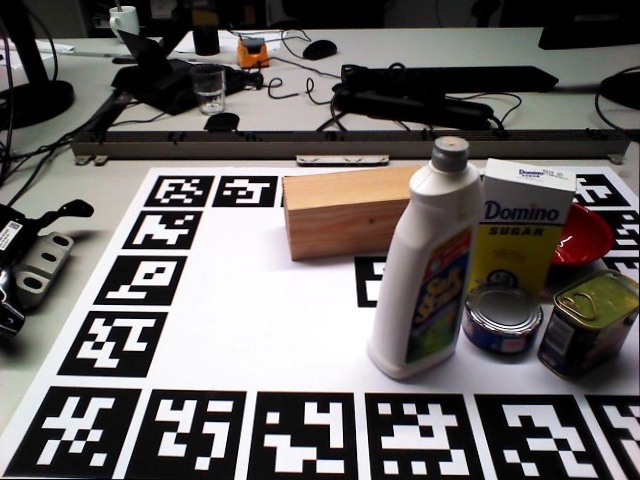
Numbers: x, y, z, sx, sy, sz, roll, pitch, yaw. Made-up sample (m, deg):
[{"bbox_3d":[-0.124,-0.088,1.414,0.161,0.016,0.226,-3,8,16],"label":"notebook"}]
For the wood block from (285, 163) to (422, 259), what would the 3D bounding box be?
[{"bbox_3d":[0.058,-0.043,0.728,0.206,0.090,0.090,-5,41,-6],"label":"wood block"}]

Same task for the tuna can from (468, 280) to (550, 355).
[{"bbox_3d":[0.210,0.086,0.584,0.086,0.034,0.085,-2,40,1],"label":"tuna can"}]

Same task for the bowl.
[{"bbox_3d":[0.316,-0.005,0.689,0.162,0.055,0.161,-4,36,3],"label":"bowl"}]

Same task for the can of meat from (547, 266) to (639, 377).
[{"bbox_3d":[0.295,0.087,0.549,0.101,0.084,0.058,-18,37,-23],"label":"can of meat"}]

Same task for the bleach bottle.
[{"bbox_3d":[0.107,0.017,0.506,0.102,0.251,0.068,-16,38,-18],"label":"bleach bottle"}]

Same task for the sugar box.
[{"bbox_3d":[0.233,-0.007,0.589,0.093,0.177,0.045,10,41,21],"label":"sugar box"}]
